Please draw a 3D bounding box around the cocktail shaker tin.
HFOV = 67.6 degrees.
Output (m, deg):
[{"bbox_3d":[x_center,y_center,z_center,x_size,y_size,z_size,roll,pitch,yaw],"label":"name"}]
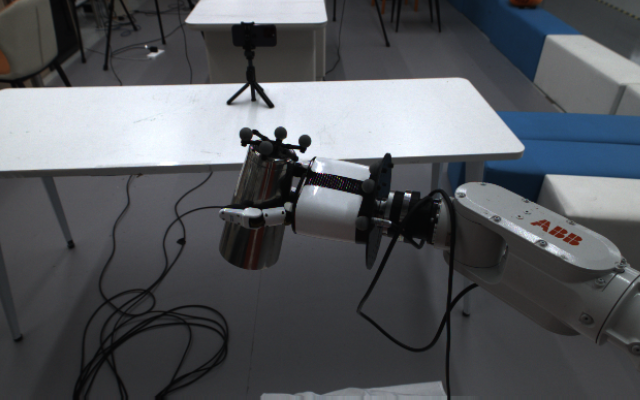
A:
[{"bbox_3d":[-0.082,0.003,0.687,0.093,0.170,0.093,12,29,-7],"label":"cocktail shaker tin"}]
